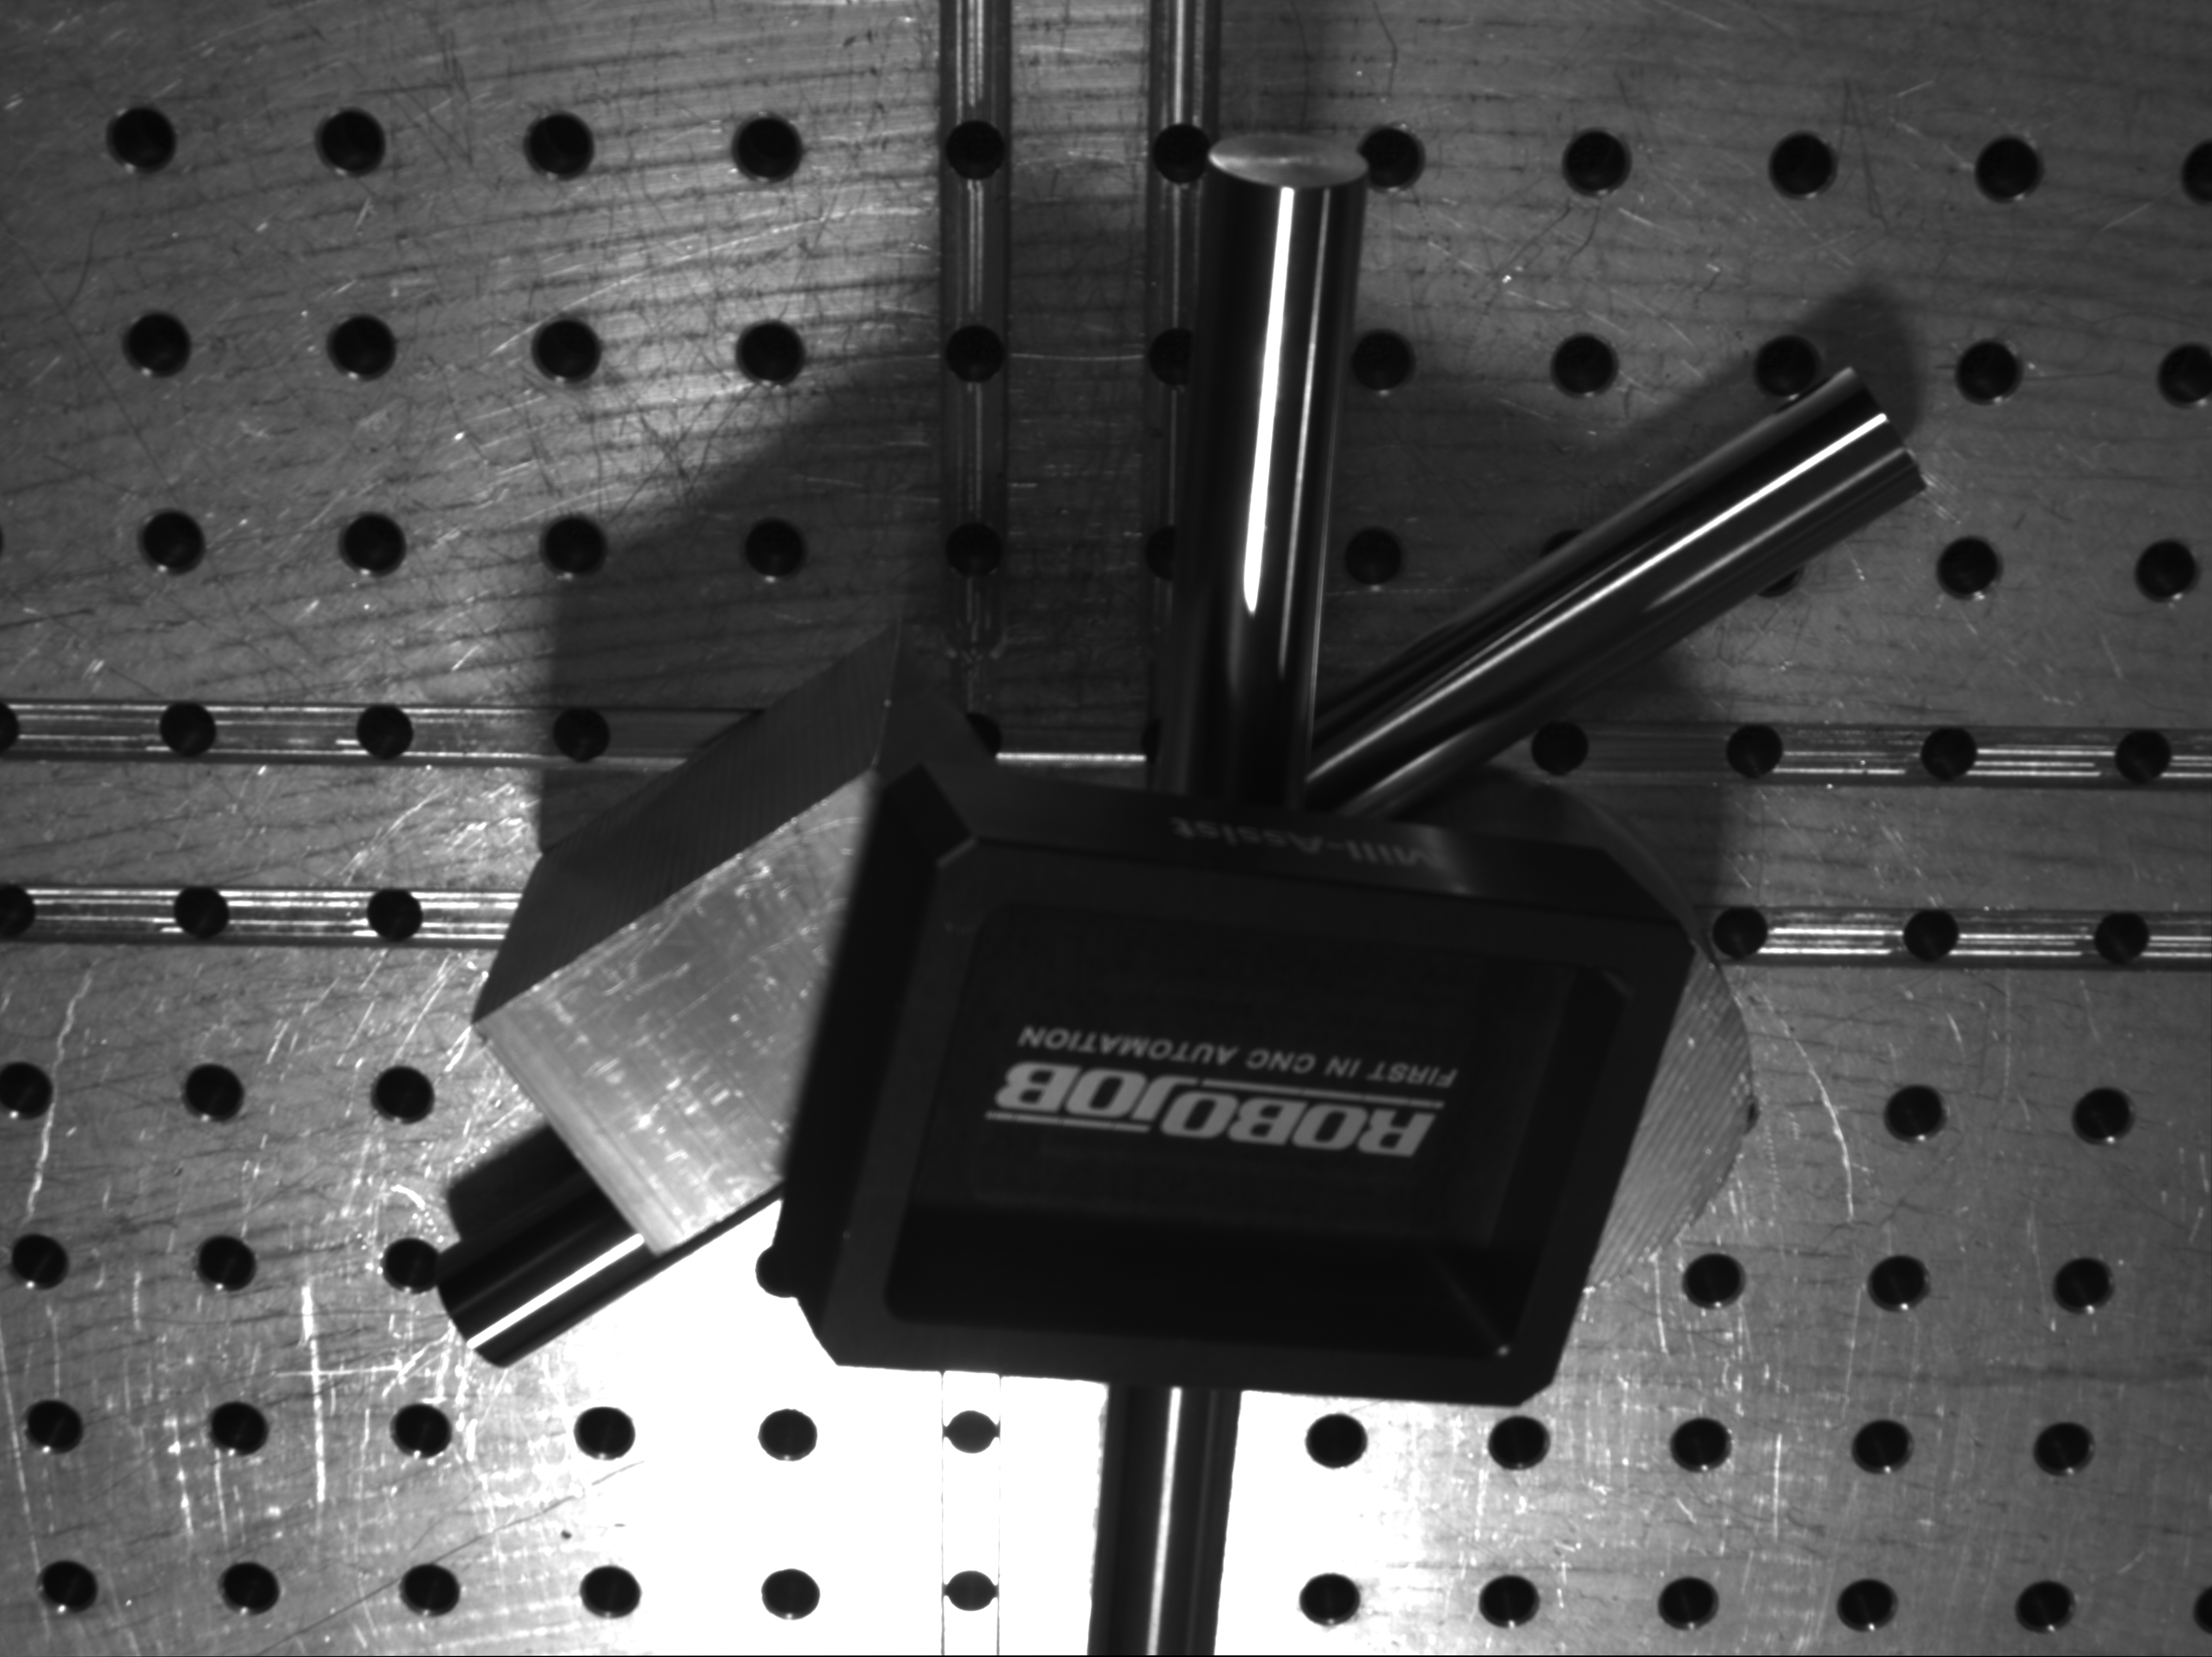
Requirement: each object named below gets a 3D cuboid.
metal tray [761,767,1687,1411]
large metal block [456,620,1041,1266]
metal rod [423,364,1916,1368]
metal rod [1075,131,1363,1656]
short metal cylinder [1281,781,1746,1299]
[{"bbox_3d":[0.019,0.044,0.584,0.130,0.030,0.090,7,111,-23],"label":"metal tray"},{"bbox_3d":[-0.057,0.017,0.621,0.080,0.080,0.050,-32,107,11],"label":"large metal block"},{"bbox_3d":[0.006,0.010,0.650,0.300,0.025,0.025,-32,107,10],"label":"metal rod"},{"bbox_3d":[0.017,0.028,0.632,0.025,0.025,0.300,3,119,-2],"label":"metal rod"},{"bbox_3d":[0.069,0.038,0.646,0.080,0.050,0.080,0,110,-1],"label":"short metal cylinder"}]
